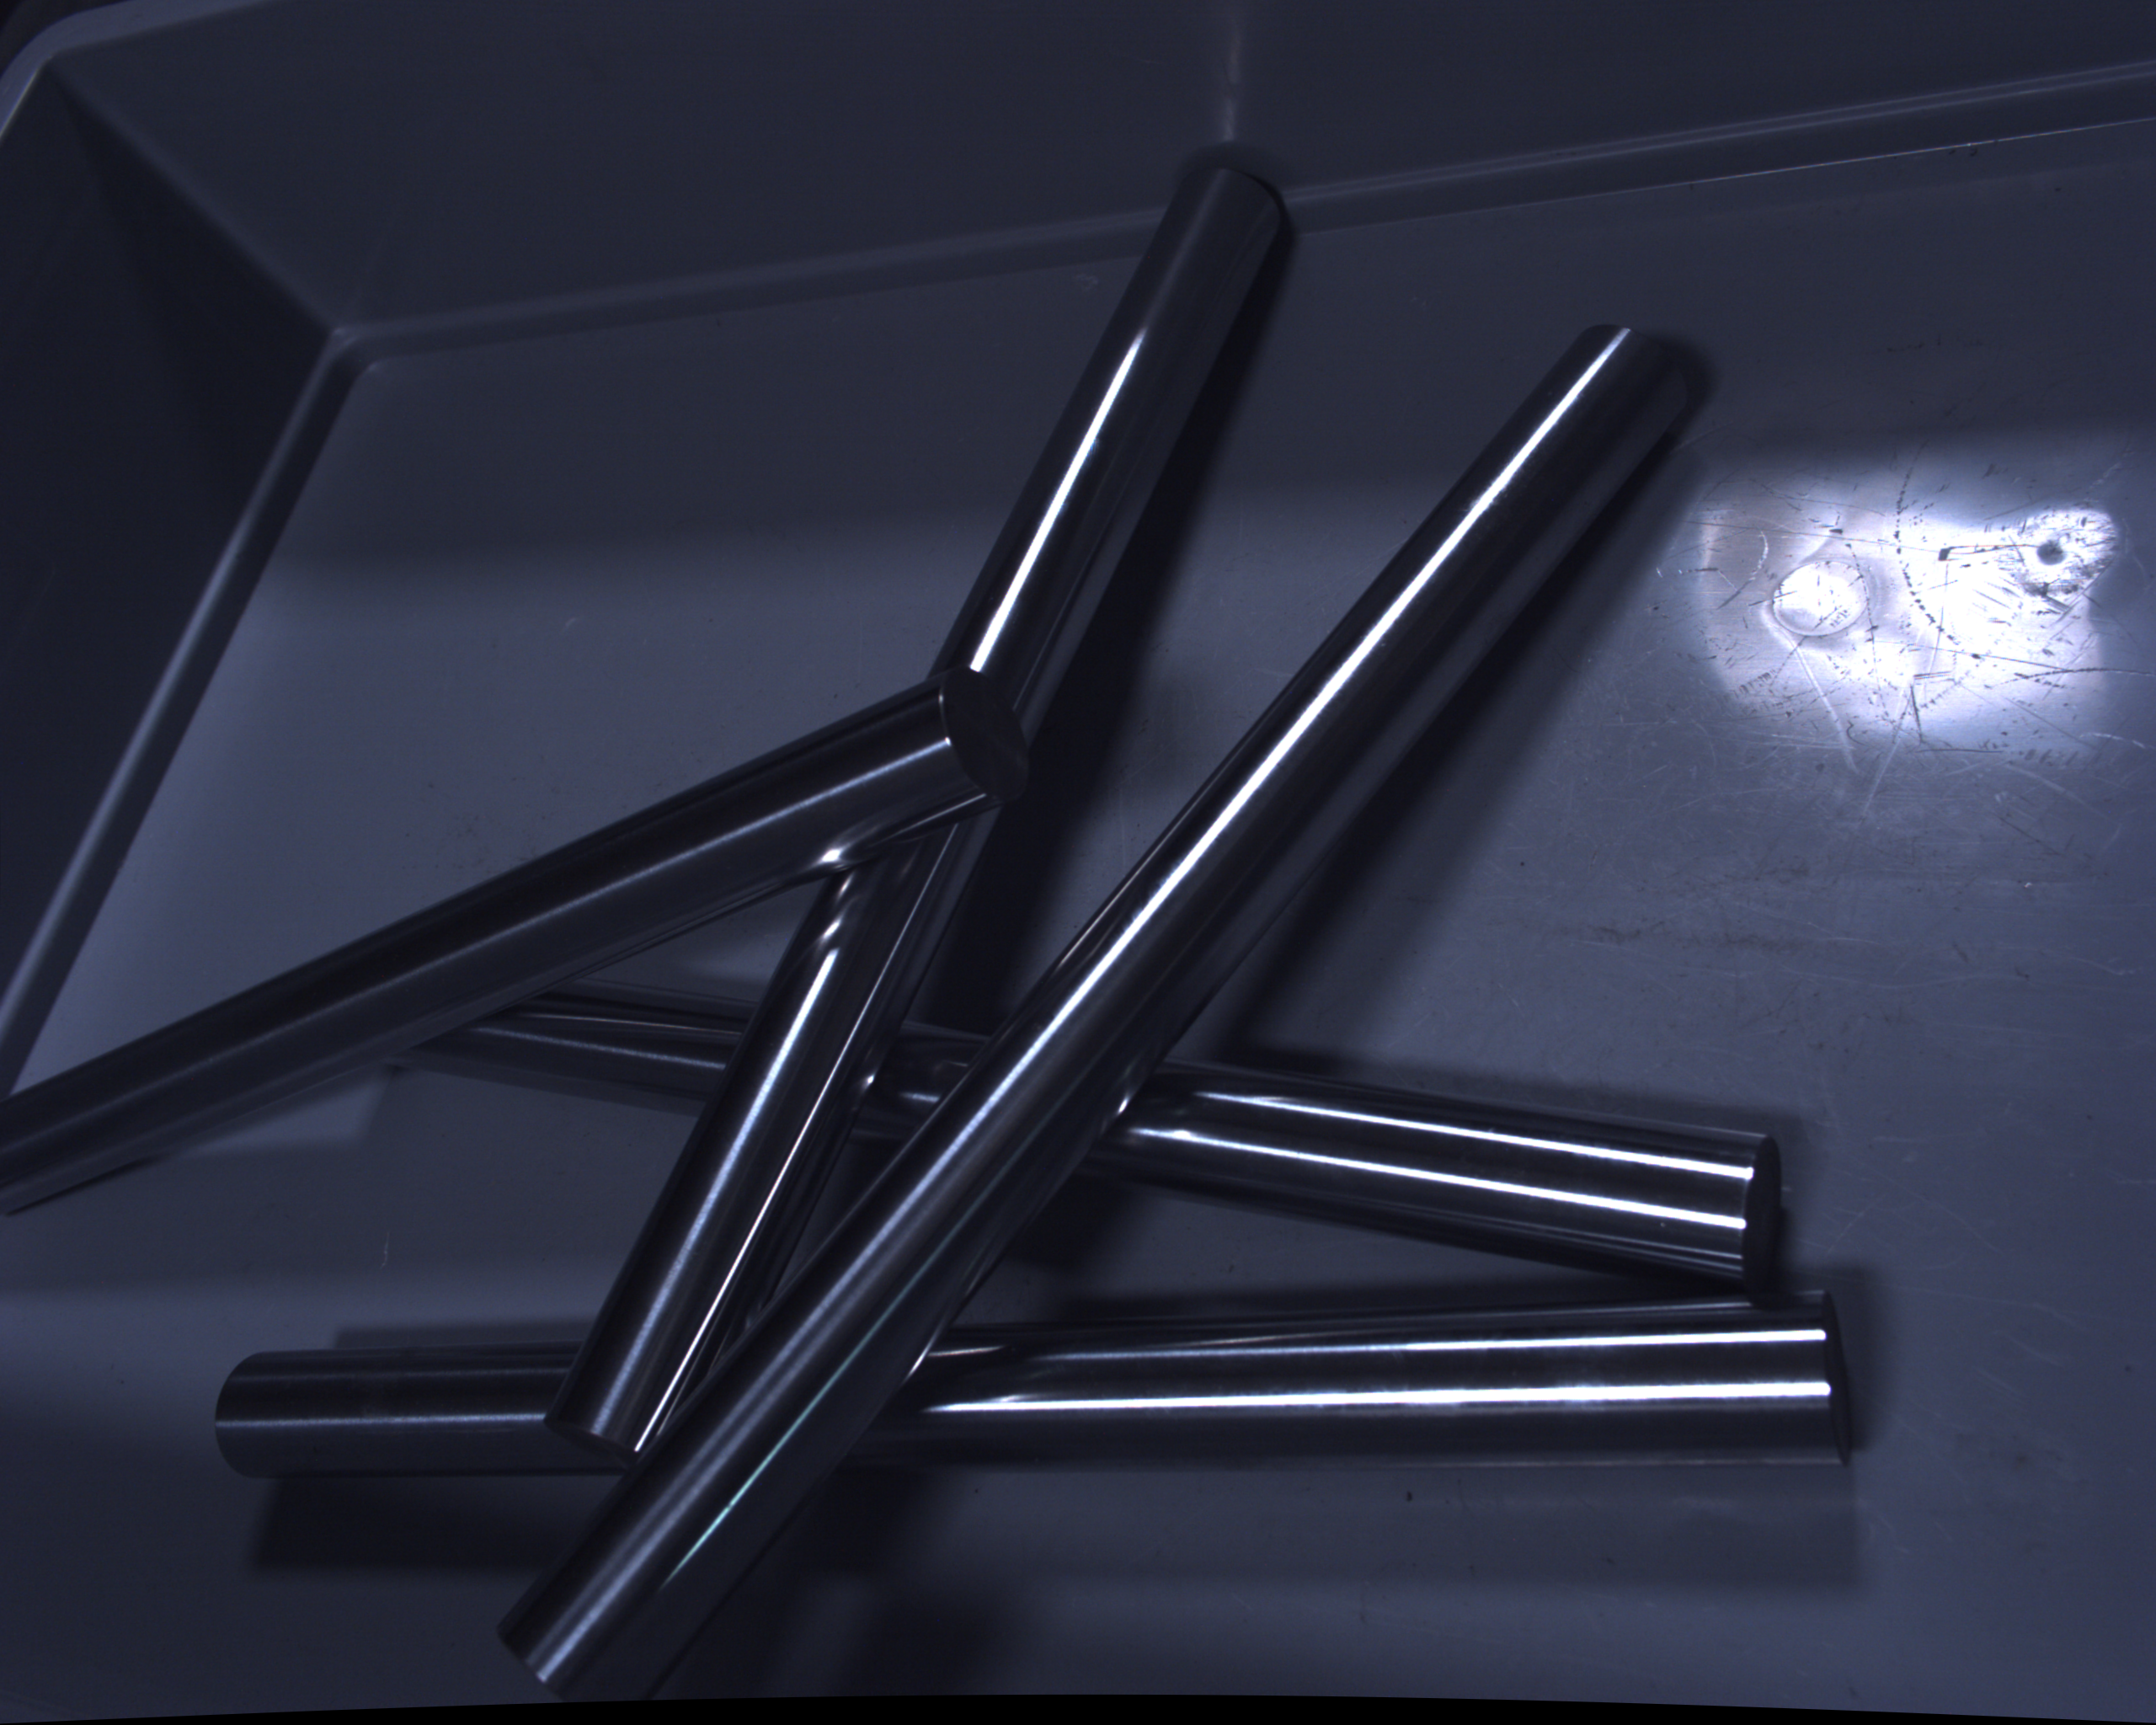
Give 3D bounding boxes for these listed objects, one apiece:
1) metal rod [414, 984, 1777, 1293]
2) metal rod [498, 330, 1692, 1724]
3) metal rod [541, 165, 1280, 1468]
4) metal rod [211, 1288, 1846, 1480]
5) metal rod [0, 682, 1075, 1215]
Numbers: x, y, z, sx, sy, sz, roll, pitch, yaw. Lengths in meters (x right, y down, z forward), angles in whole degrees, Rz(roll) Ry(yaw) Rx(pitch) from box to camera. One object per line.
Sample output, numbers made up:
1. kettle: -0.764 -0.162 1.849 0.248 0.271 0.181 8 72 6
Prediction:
1. metal rod: -0.027 0.043 0.390 0.300 0.025 0.025 5 64 30
2. metal rod: 0.015 0.016 0.360 0.025 0.025 0.301 27 68 37
3. metal rod: -0.021 -0.027 0.408 0.025 0.025 0.300 7 59 31
4. metal rod: -0.028 0.093 0.360 0.301 0.025 0.025 -8 58 23
5. metal rod: -0.137 0.028 0.425 0.300 0.025 0.025 -20 54 22
